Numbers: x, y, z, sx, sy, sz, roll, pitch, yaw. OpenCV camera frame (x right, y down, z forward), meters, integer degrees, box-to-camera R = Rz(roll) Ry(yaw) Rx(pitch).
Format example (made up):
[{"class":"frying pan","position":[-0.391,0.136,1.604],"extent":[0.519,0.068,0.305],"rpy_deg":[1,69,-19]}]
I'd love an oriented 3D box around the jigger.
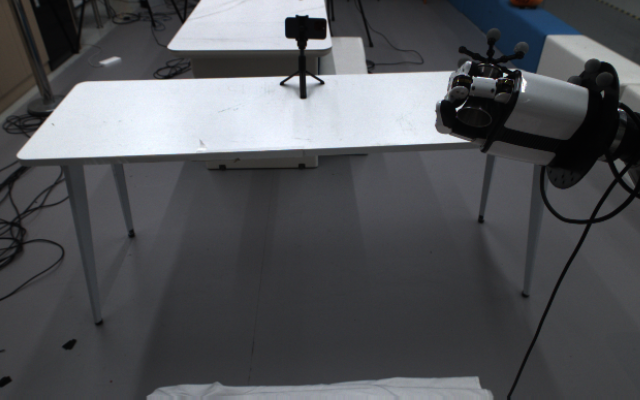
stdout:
[{"class":"jigger","position":[0.204,-0.135,0.612],"extent":[0.043,0.043,0.071],"rpy_deg":[15,70,17]}]
